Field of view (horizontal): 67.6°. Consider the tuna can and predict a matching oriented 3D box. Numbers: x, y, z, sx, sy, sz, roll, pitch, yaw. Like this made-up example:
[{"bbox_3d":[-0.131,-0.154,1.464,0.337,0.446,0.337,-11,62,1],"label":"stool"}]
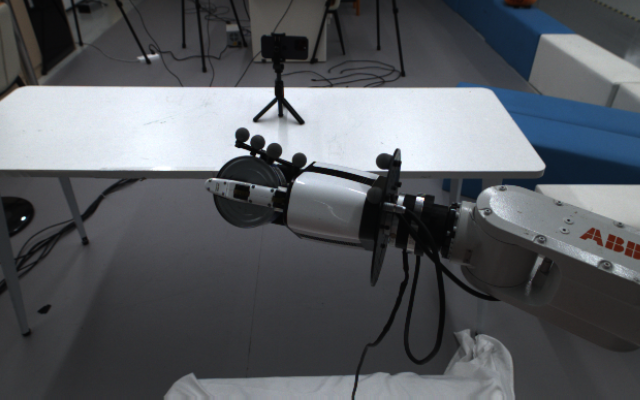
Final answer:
[{"bbox_3d":[-0.081,-0.011,0.583,0.085,0.085,0.034,13,3,16],"label":"tuna can"}]
